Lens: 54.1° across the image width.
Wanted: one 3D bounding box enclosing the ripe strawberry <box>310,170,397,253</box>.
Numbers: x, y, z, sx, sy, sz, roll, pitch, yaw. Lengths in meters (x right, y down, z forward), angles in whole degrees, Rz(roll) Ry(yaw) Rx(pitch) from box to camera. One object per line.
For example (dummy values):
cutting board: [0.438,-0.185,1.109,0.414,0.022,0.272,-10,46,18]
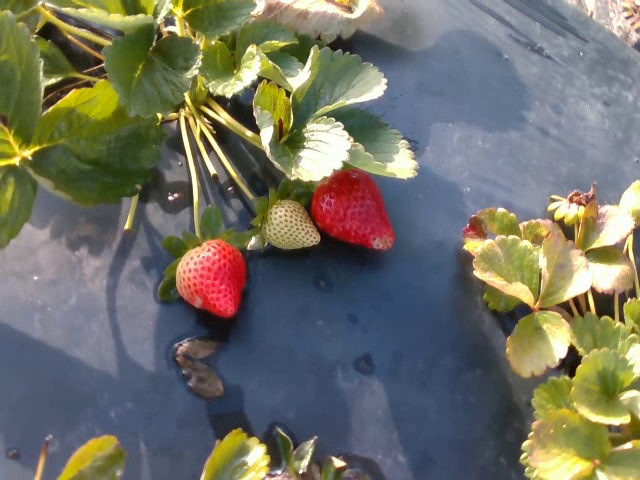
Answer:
ripe strawberry: [0.023,-0.015,0.374,0.048,0.065,0.050,-43,-5,23]
